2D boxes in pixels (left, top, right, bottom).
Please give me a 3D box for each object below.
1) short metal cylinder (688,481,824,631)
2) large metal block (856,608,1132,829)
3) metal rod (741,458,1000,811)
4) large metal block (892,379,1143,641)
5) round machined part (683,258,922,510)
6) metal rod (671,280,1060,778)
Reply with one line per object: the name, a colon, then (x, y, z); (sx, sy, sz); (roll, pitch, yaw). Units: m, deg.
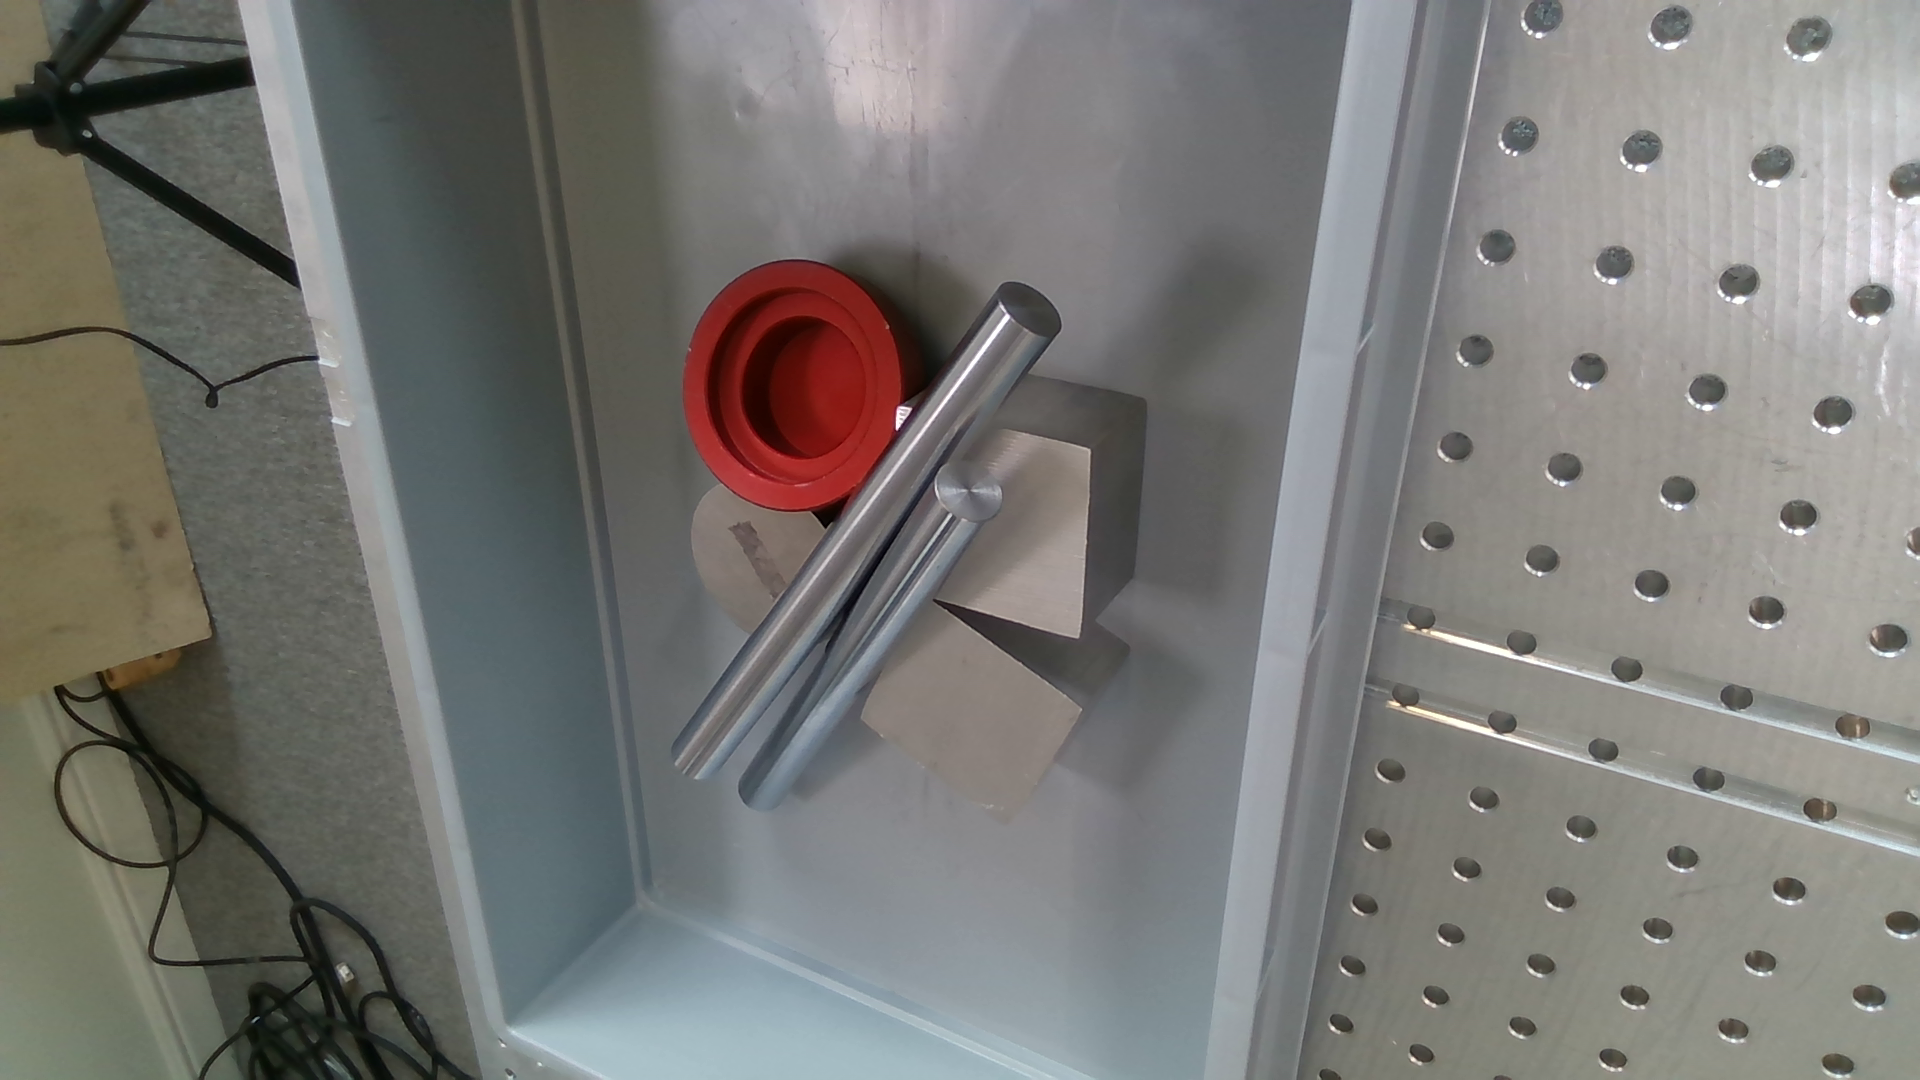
short metal cylinder: (-0.072, 0.000, 0.606); (0.080, 0.050, 0.080); (14, 122, 25)
large metal block: (0.013, 0.062, 0.587); (0.080, 0.050, 0.080); (35, 128, 11)
metal rod: (-0.051, 0.055, 0.592); (0.025, 0.025, 0.301); (42, 143, 5)
large metal block: (0.022, -0.017, 0.536); (0.080, 0.050, 0.080); (15, 122, 24)
round machined part: (-0.059, -0.062, 0.556); (0.098, 0.042, 0.098); (1, 93, 23)
metal rod: (-0.051, 0.012, 0.550); (0.025, 0.025, 0.301); (43, 130, 4)
